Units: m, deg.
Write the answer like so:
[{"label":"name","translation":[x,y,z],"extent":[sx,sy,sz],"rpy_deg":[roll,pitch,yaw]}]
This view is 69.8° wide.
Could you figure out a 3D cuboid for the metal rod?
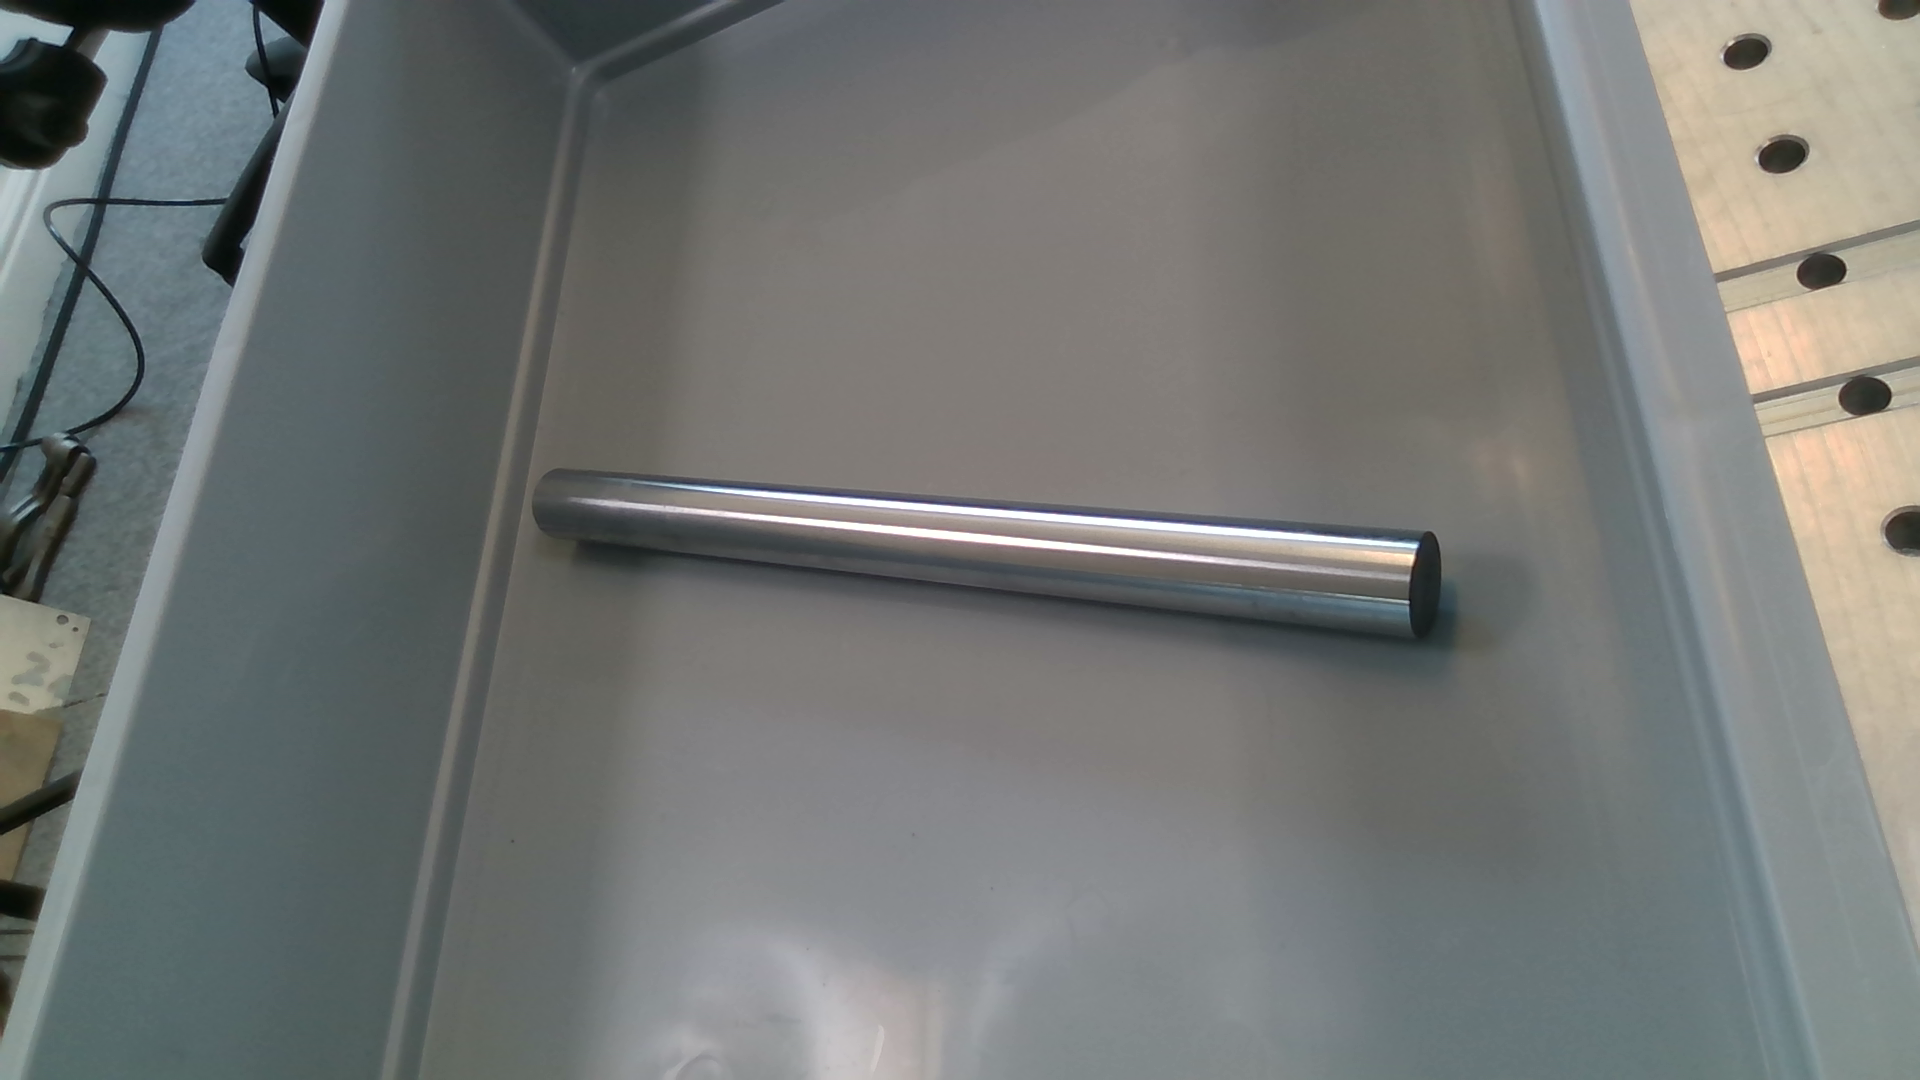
[{"label":"metal rod","translation":[-0.017,-0.003,0.402],"extent":[0.300,0.025,0.025],"rpy_deg":[6,69,34]}]
